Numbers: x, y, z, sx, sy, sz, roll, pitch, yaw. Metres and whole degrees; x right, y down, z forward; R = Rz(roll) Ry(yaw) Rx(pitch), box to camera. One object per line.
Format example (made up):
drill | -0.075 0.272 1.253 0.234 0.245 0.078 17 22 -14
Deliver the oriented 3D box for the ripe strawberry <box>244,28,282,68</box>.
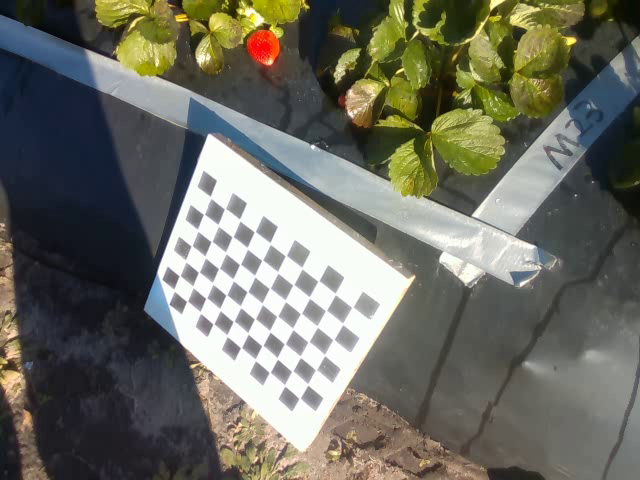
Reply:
ripe strawberry | -0.069 -0.234 0.763 0.045 0.059 0.042 -32 -24 33
